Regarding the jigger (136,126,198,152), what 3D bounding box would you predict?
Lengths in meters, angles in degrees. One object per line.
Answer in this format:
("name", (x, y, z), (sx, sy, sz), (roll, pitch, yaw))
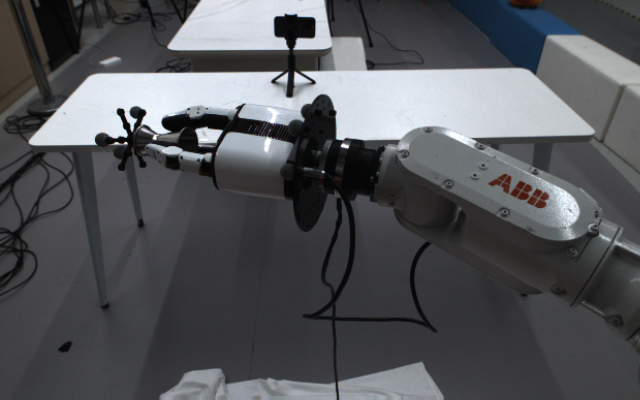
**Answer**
("jigger", (-0.188, -0.078, 0.615), (0.071, 0.043, 0.043), (6, 34, 18))
